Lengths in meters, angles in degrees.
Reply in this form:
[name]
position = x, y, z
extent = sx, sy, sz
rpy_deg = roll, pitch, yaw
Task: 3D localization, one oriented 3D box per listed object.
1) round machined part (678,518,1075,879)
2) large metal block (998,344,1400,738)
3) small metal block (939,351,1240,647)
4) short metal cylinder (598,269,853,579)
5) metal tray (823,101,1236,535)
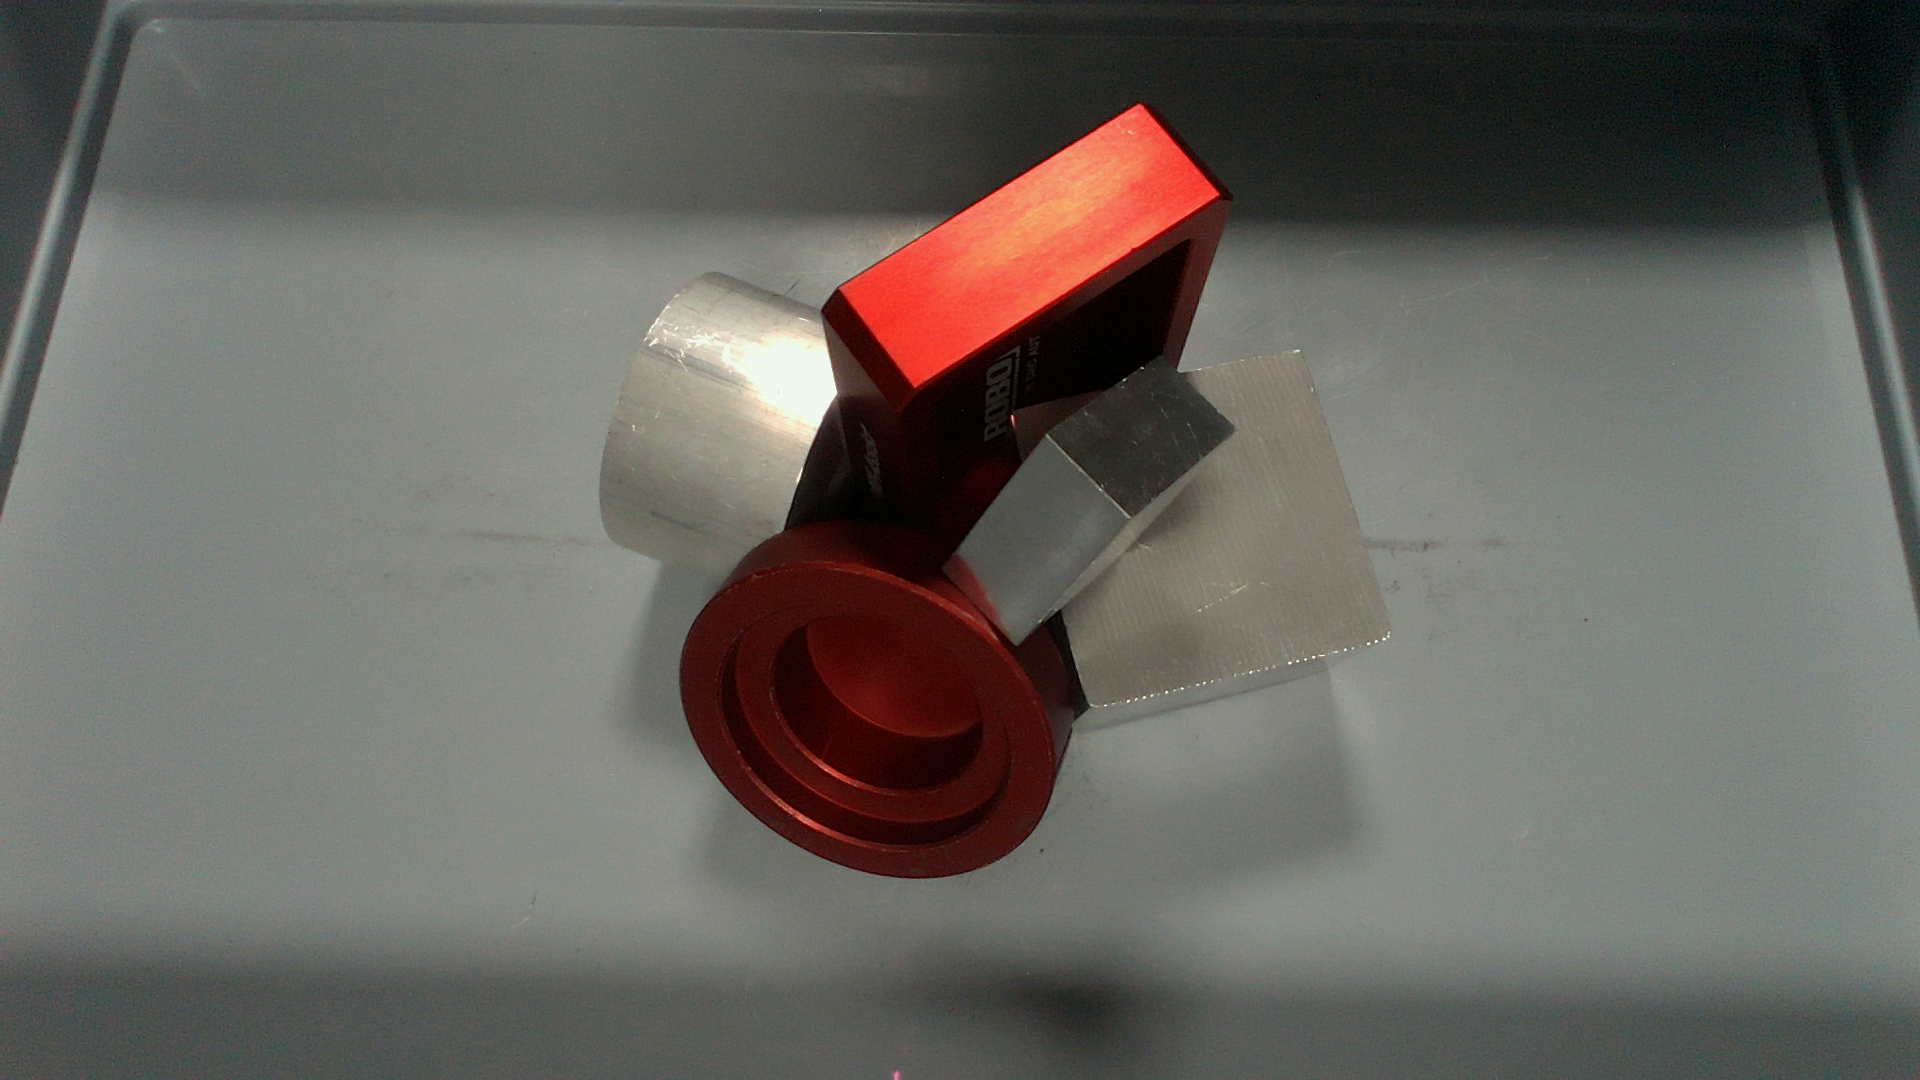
[round machined part]
position = -0.018, 0.036, 0.351
extent = 0.098, 0.098, 0.042
rpy_deg = 19, 36, 7
[large metal block]
position = 0.060, 0.002, 0.372
extent = 0.080, 0.050, 0.080
rpy_deg = -13, 75, -5
[small metal block]
position = 0.029, -0.010, 0.311
extent = 0.025, 0.050, 0.050
rpy_deg = 46, 44, 8
[short metal cylinder]
position = -0.055, -0.027, 0.374
extent = 0.050, 0.080, 0.080
rpy_deg = 21, 71, 8
[metal tray]
position = 0.015, -0.043, 0.353
extent = 0.090, 0.130, 0.030
rpy_deg = -34, 74, -12
